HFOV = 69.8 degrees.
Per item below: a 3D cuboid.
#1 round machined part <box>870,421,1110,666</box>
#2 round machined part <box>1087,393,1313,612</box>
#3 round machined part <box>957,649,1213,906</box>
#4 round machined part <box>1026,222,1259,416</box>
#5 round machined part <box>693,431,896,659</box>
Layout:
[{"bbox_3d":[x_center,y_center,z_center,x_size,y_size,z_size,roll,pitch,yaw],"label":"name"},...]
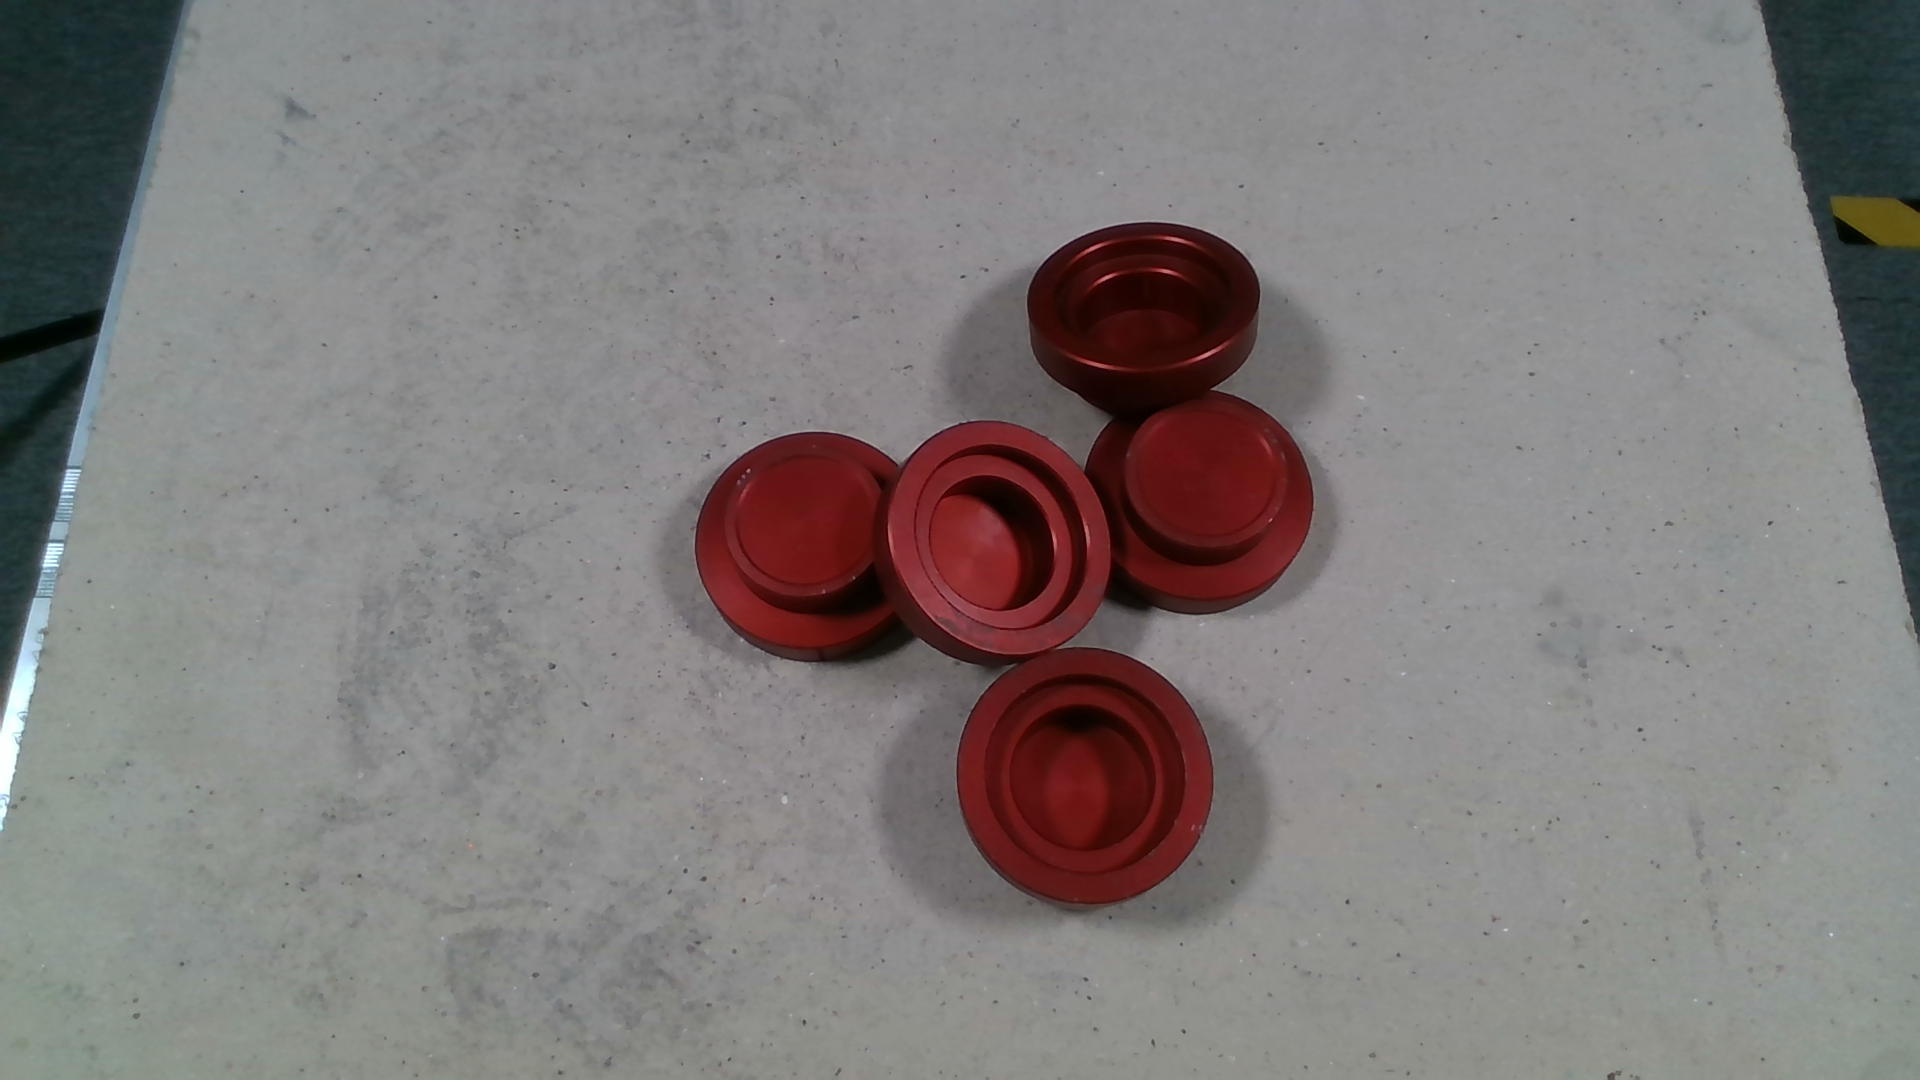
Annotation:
[{"bbox_3d":[0.009,0.004,0.566,0.098,0.042,0.098,7,71,-22],"label":"round machined part"},{"bbox_3d":[0.102,-0.021,0.586,0.098,0.042,0.098,0,70,0],"label":"round machined part"},{"bbox_3d":[0.048,0.096,0.545,0.098,0.042,0.098,0,70,0],"label":"round machined part"},{"bbox_3d":[0.080,-0.092,0.601,0.098,0.042,0.098,-4,49,5],"label":"round machined part"},{"bbox_3d":[-0.063,-0.002,0.579,0.098,0.042,0.098,0,70,0],"label":"round machined part"}]
